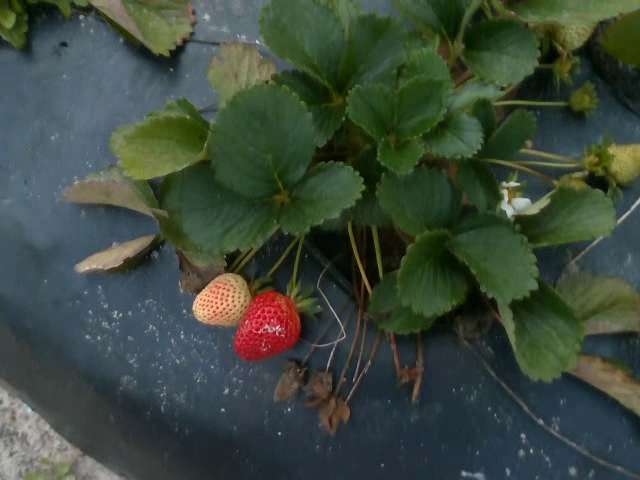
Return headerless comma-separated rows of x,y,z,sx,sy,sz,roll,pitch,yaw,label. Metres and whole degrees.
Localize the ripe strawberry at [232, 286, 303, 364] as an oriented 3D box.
-0.029,0.045,0.331,0.041,0.034,0.033,-34,7,-28,ripe strawberry
